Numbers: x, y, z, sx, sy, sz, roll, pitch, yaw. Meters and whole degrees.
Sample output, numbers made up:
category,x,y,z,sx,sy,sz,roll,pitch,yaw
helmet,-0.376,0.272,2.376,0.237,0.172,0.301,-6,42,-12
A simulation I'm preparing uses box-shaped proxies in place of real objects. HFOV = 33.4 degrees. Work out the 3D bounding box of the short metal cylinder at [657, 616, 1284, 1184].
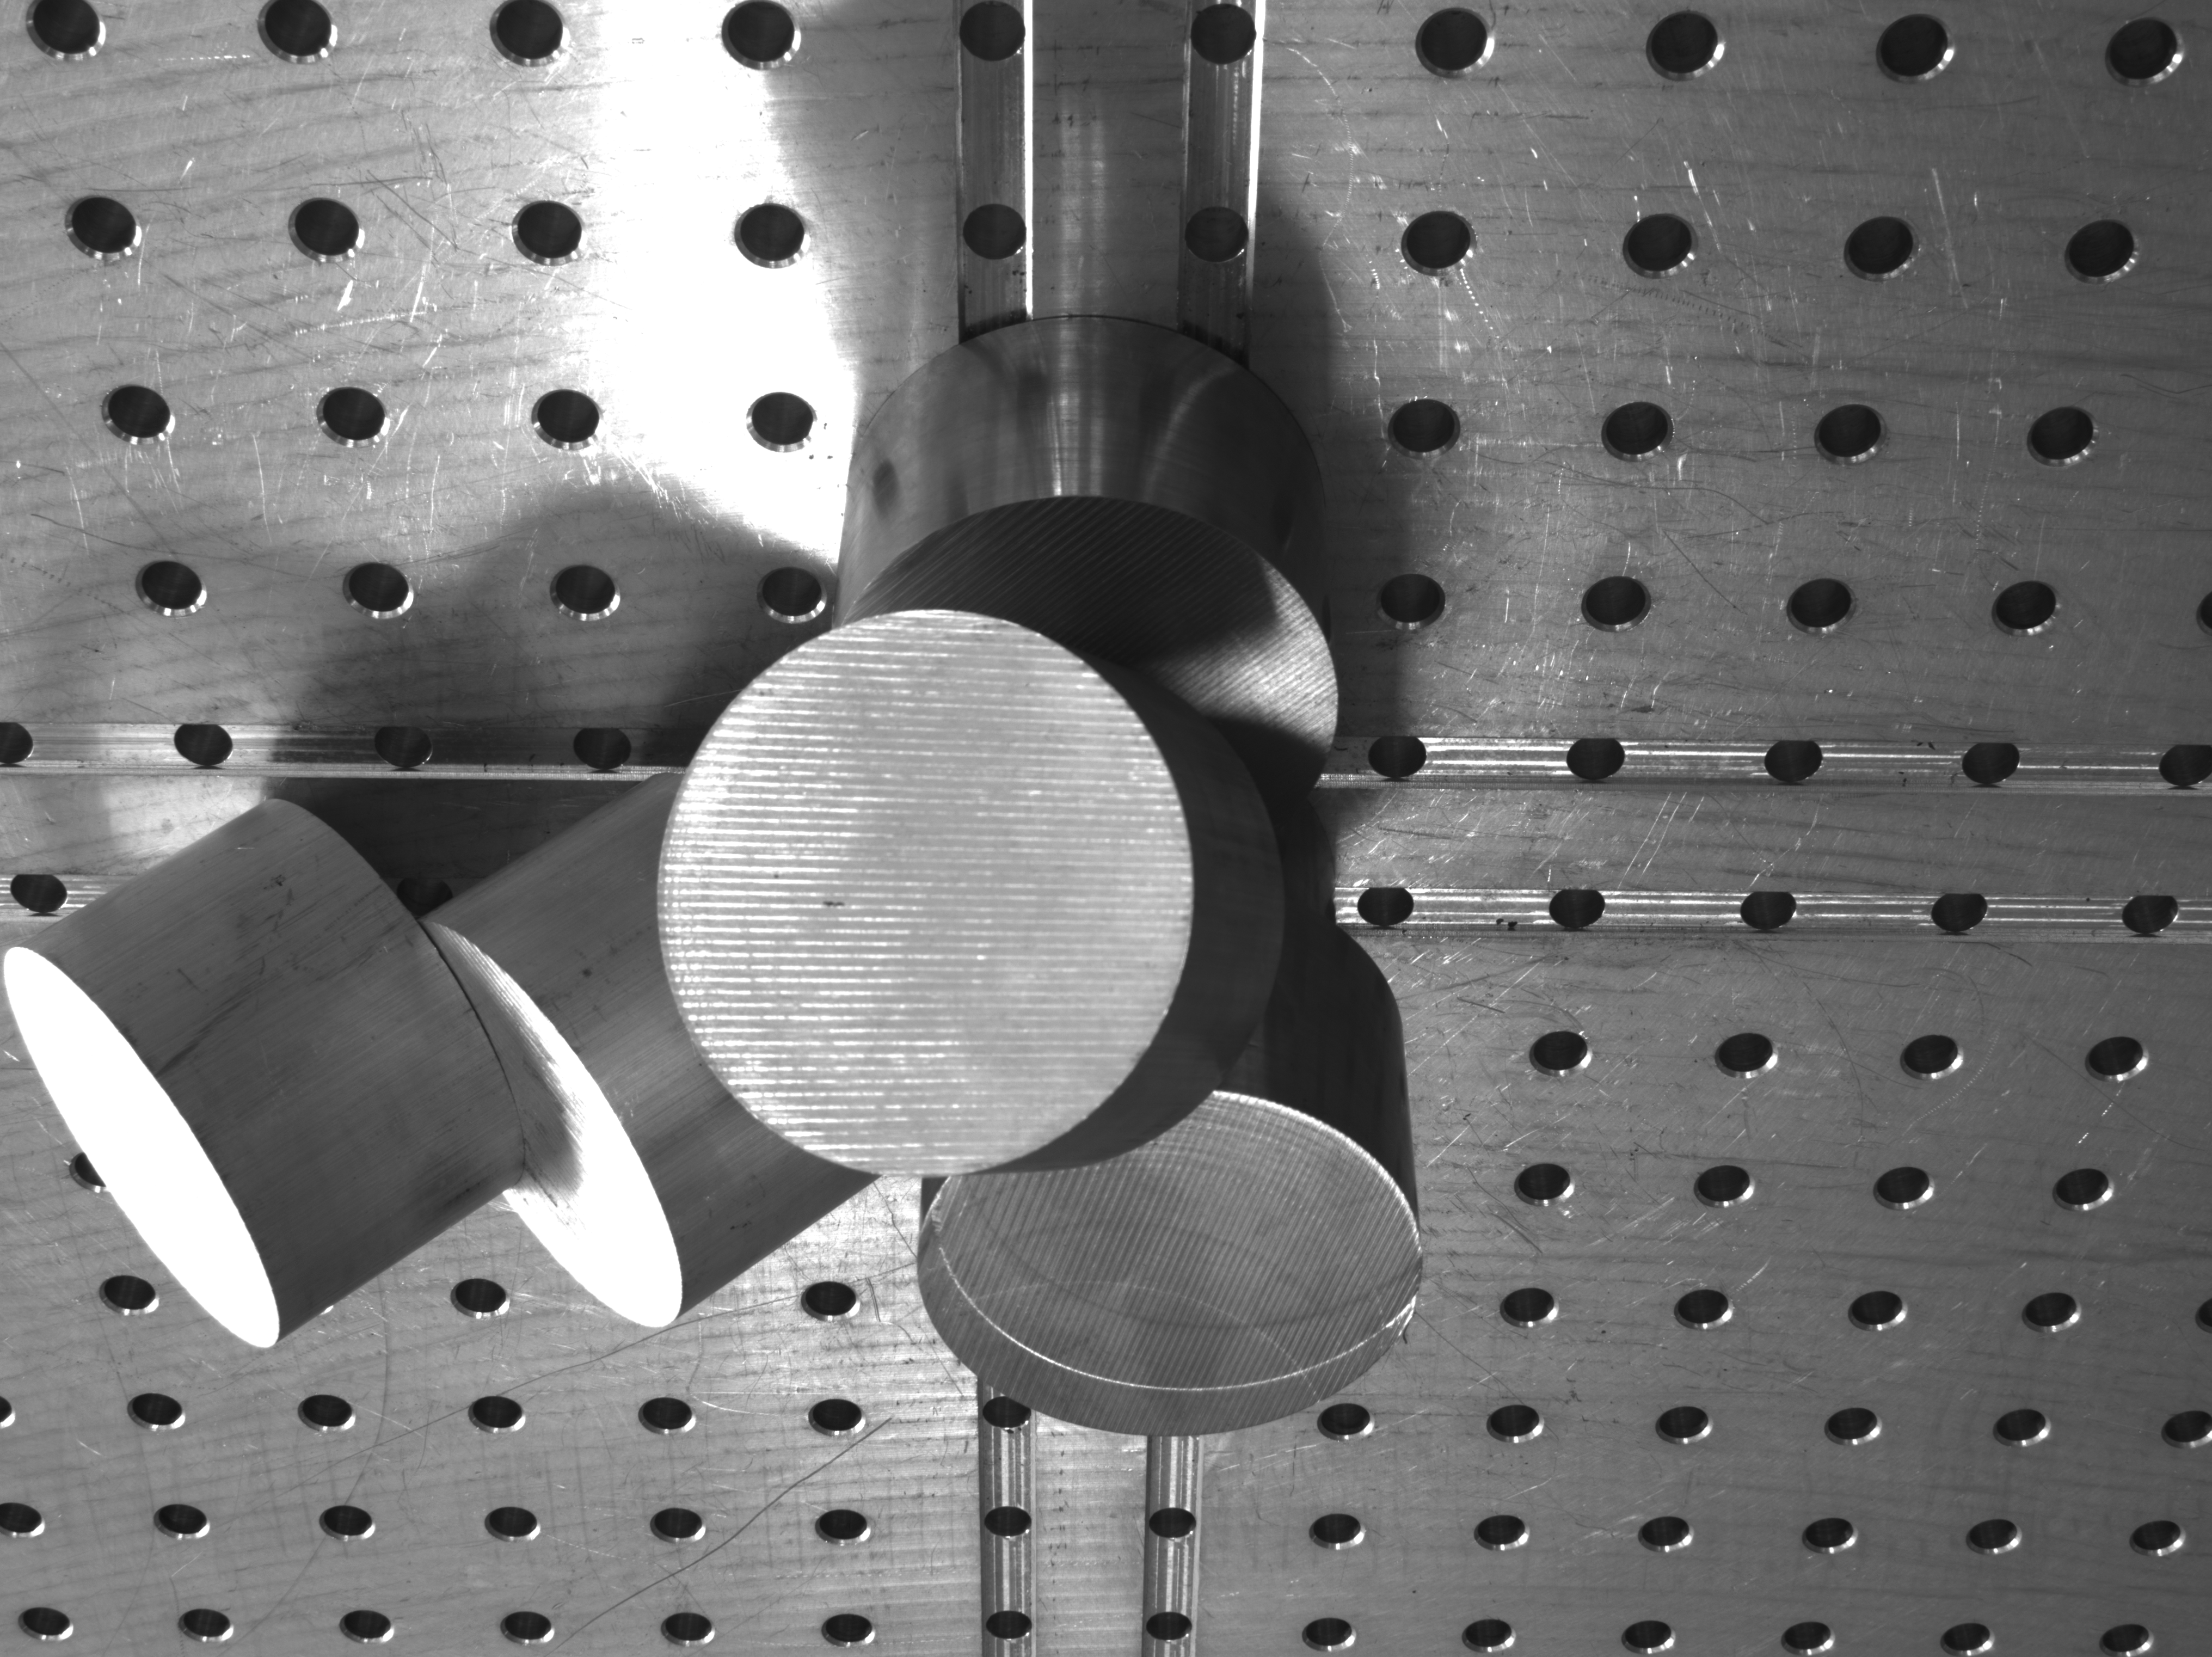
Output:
category,x,y,z,sx,sy,sz,roll,pitch,yaw
short metal cylinder,-0.019,0.012,0.542,0.080,0.080,0.050,-19,171,15

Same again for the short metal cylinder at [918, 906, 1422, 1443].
category,x,y,z,sx,sy,sz,roll,pitch,yaw
short metal cylinder,0.010,0.055,0.604,0.080,0.050,0.080,0,130,0

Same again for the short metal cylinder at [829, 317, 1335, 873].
category,x,y,z,sx,sy,sz,roll,pitch,yaw
short metal cylinder,-0.004,-0.035,0.596,0.080,0.050,0.080,0,130,0

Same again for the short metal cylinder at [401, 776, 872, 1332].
category,x,y,z,sx,sy,sz,roll,pitch,yaw
short metal cylinder,-0.077,0.038,0.629,0.050,0.080,0.080,-34,135,-27

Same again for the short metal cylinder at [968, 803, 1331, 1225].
category,x,y,z,sx,sy,sz,roll,pitch,yaw
short metal cylinder,0.001,0.027,0.648,0.080,0.050,0.080,0,130,0

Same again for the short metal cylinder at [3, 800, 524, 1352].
category,x,y,z,sx,sy,sz,roll,pitch,yaw
short metal cylinder,-0.145,0.042,0.633,0.050,0.080,0.080,-34,135,-27
